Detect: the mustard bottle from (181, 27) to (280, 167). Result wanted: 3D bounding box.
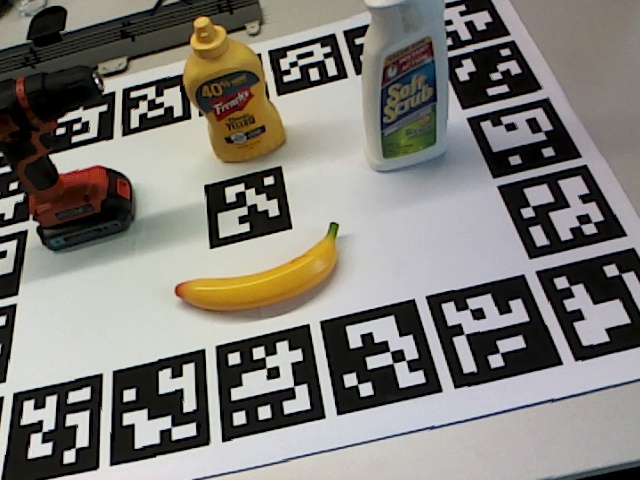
[{"bbox_3d":[-0.113,-0.173,0.744,0.096,0.190,0.059,-19,55,-3],"label":"mustard bottle"}]

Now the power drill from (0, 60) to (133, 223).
[{"bbox_3d":[-0.294,-0.107,0.704,0.184,0.186,0.057,-20,55,3],"label":"power drill"}]

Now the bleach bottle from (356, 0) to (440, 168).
[{"bbox_3d":[0.077,-0.184,0.669,0.103,0.249,0.068,-7,56,8],"label":"bleach bottle"}]

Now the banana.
[{"bbox_3d":[-0.069,0.036,0.675,0.197,0.038,0.074,-20,57,3],"label":"banana"}]
